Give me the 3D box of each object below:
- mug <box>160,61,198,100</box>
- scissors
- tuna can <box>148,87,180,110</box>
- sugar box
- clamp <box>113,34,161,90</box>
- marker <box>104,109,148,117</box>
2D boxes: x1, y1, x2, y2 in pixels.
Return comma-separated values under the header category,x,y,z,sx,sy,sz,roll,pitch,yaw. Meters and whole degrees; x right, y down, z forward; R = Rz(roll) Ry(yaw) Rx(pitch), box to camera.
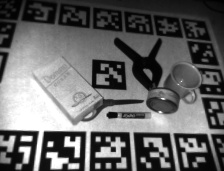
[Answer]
category,x,y,z,sx,sy,sz,roll,pitch,yaw
mug,0.198,-0.008,0.634,0.094,0.081,0.116,-23,66,-22
scissors,-0.009,0.036,0.597,0.204,0.016,0.087,-7,61,-17
tuna can,0.142,0.034,0.595,0.086,0.086,0.034,17,60,-2
sugar box,-0.113,0.003,0.573,0.093,0.045,0.175,-33,68,-25
clamp,0.101,-0.079,0.685,0.166,0.036,0.201,-7,65,-16
marker,0.037,0.075,0.588,0.122,0.019,0.019,-1,64,-12
